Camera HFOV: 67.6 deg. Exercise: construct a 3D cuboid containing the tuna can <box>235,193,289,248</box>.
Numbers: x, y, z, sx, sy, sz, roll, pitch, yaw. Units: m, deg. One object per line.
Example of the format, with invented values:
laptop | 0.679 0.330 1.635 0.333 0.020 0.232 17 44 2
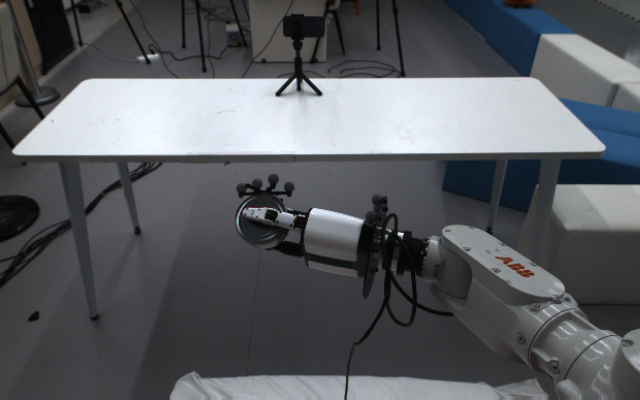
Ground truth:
tuna can | -0.085 0.035 0.775 0.085 0.034 0.085 -2 69 6
